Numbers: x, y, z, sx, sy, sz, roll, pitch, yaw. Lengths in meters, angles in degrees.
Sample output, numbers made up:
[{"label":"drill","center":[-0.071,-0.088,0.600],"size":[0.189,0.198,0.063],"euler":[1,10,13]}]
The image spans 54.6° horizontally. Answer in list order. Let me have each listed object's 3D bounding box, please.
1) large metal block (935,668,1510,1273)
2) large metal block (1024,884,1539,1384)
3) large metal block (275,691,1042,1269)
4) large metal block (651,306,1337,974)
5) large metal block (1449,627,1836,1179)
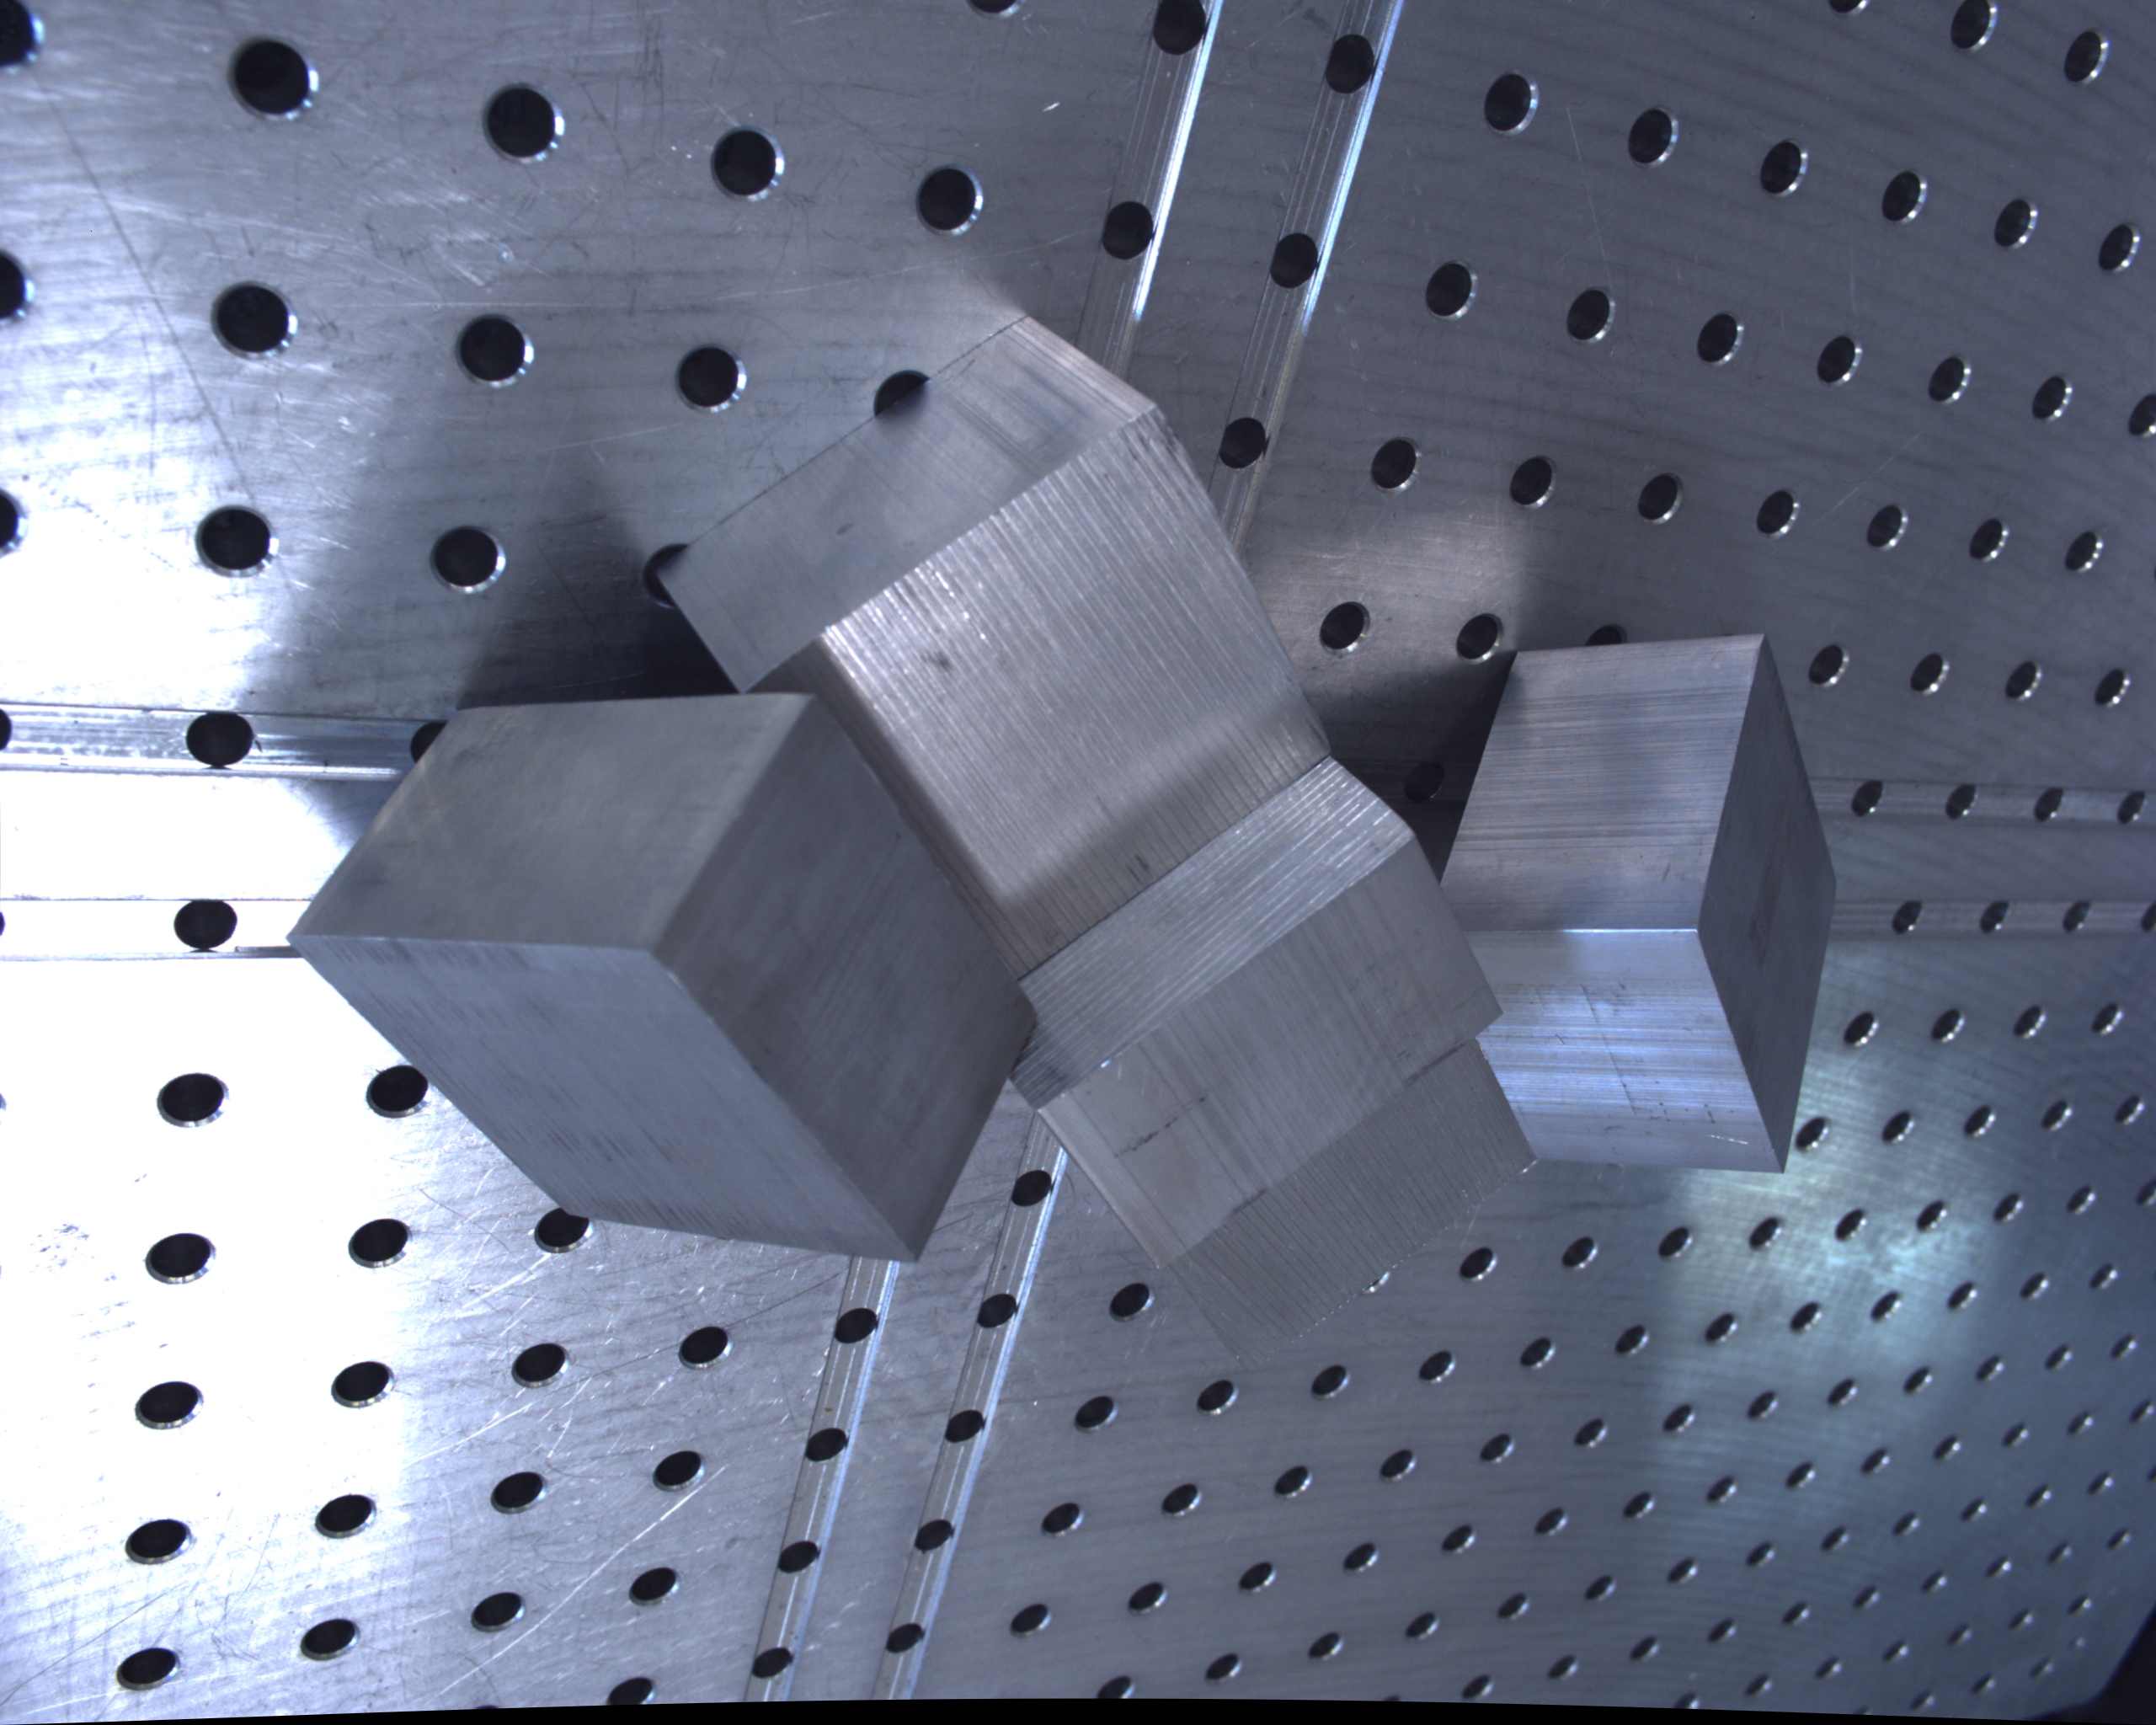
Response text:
[{"label":"large metal block","center":[0.019,0.015,0.394],"size":[0.080,0.080,0.050],"euler":[-36,131,-4]},{"label":"large metal block","center":[0.041,0.051,0.448],"size":[0.080,0.050,0.080],"euler":[-35,128,-5]},{"label":"large metal block","center":[-0.065,0.019,0.342],"size":[0.080,0.080,0.050],"euler":[58,45,-39]},{"label":"large metal block","center":[-0.013,-0.035,0.365],"size":[0.080,0.050,0.080],"euler":[-35,130,-3]},{"label":"large metal block","center":[0.120,0.009,0.438],"size":[0.080,0.050,0.080],"euler":[58,44,-39]}]
